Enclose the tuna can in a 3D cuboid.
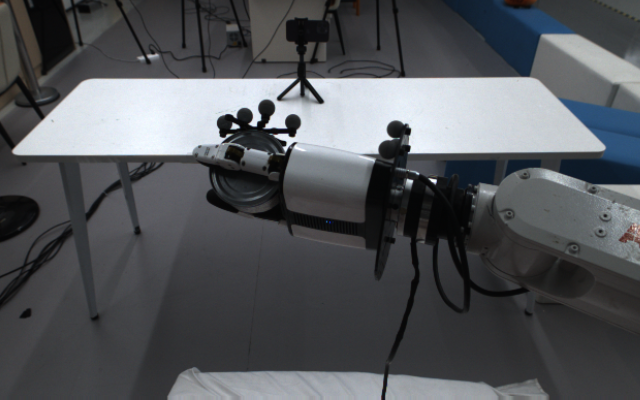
[{"bbox_3d":[-0.071,-0.030,0.524,0.085,0.034,0.085,-3,73,10],"label":"tuna can"}]
